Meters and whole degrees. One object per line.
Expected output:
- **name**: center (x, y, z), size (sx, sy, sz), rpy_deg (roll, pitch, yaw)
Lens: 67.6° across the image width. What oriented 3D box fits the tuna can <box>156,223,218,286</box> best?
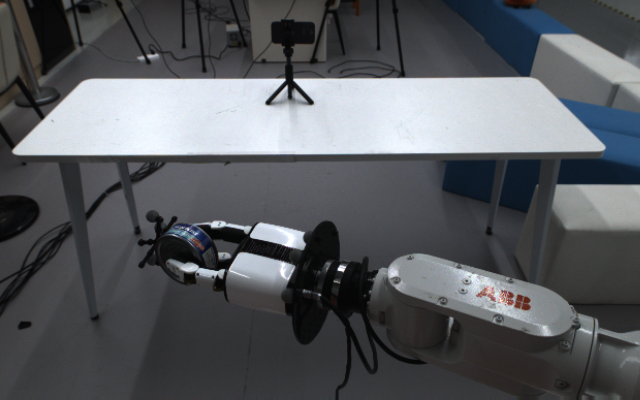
- **tuna can**: center (-0.185, 0.075, 0.680), size (0.085, 0.085, 0.034), rpy_deg (13, 31, 16)
